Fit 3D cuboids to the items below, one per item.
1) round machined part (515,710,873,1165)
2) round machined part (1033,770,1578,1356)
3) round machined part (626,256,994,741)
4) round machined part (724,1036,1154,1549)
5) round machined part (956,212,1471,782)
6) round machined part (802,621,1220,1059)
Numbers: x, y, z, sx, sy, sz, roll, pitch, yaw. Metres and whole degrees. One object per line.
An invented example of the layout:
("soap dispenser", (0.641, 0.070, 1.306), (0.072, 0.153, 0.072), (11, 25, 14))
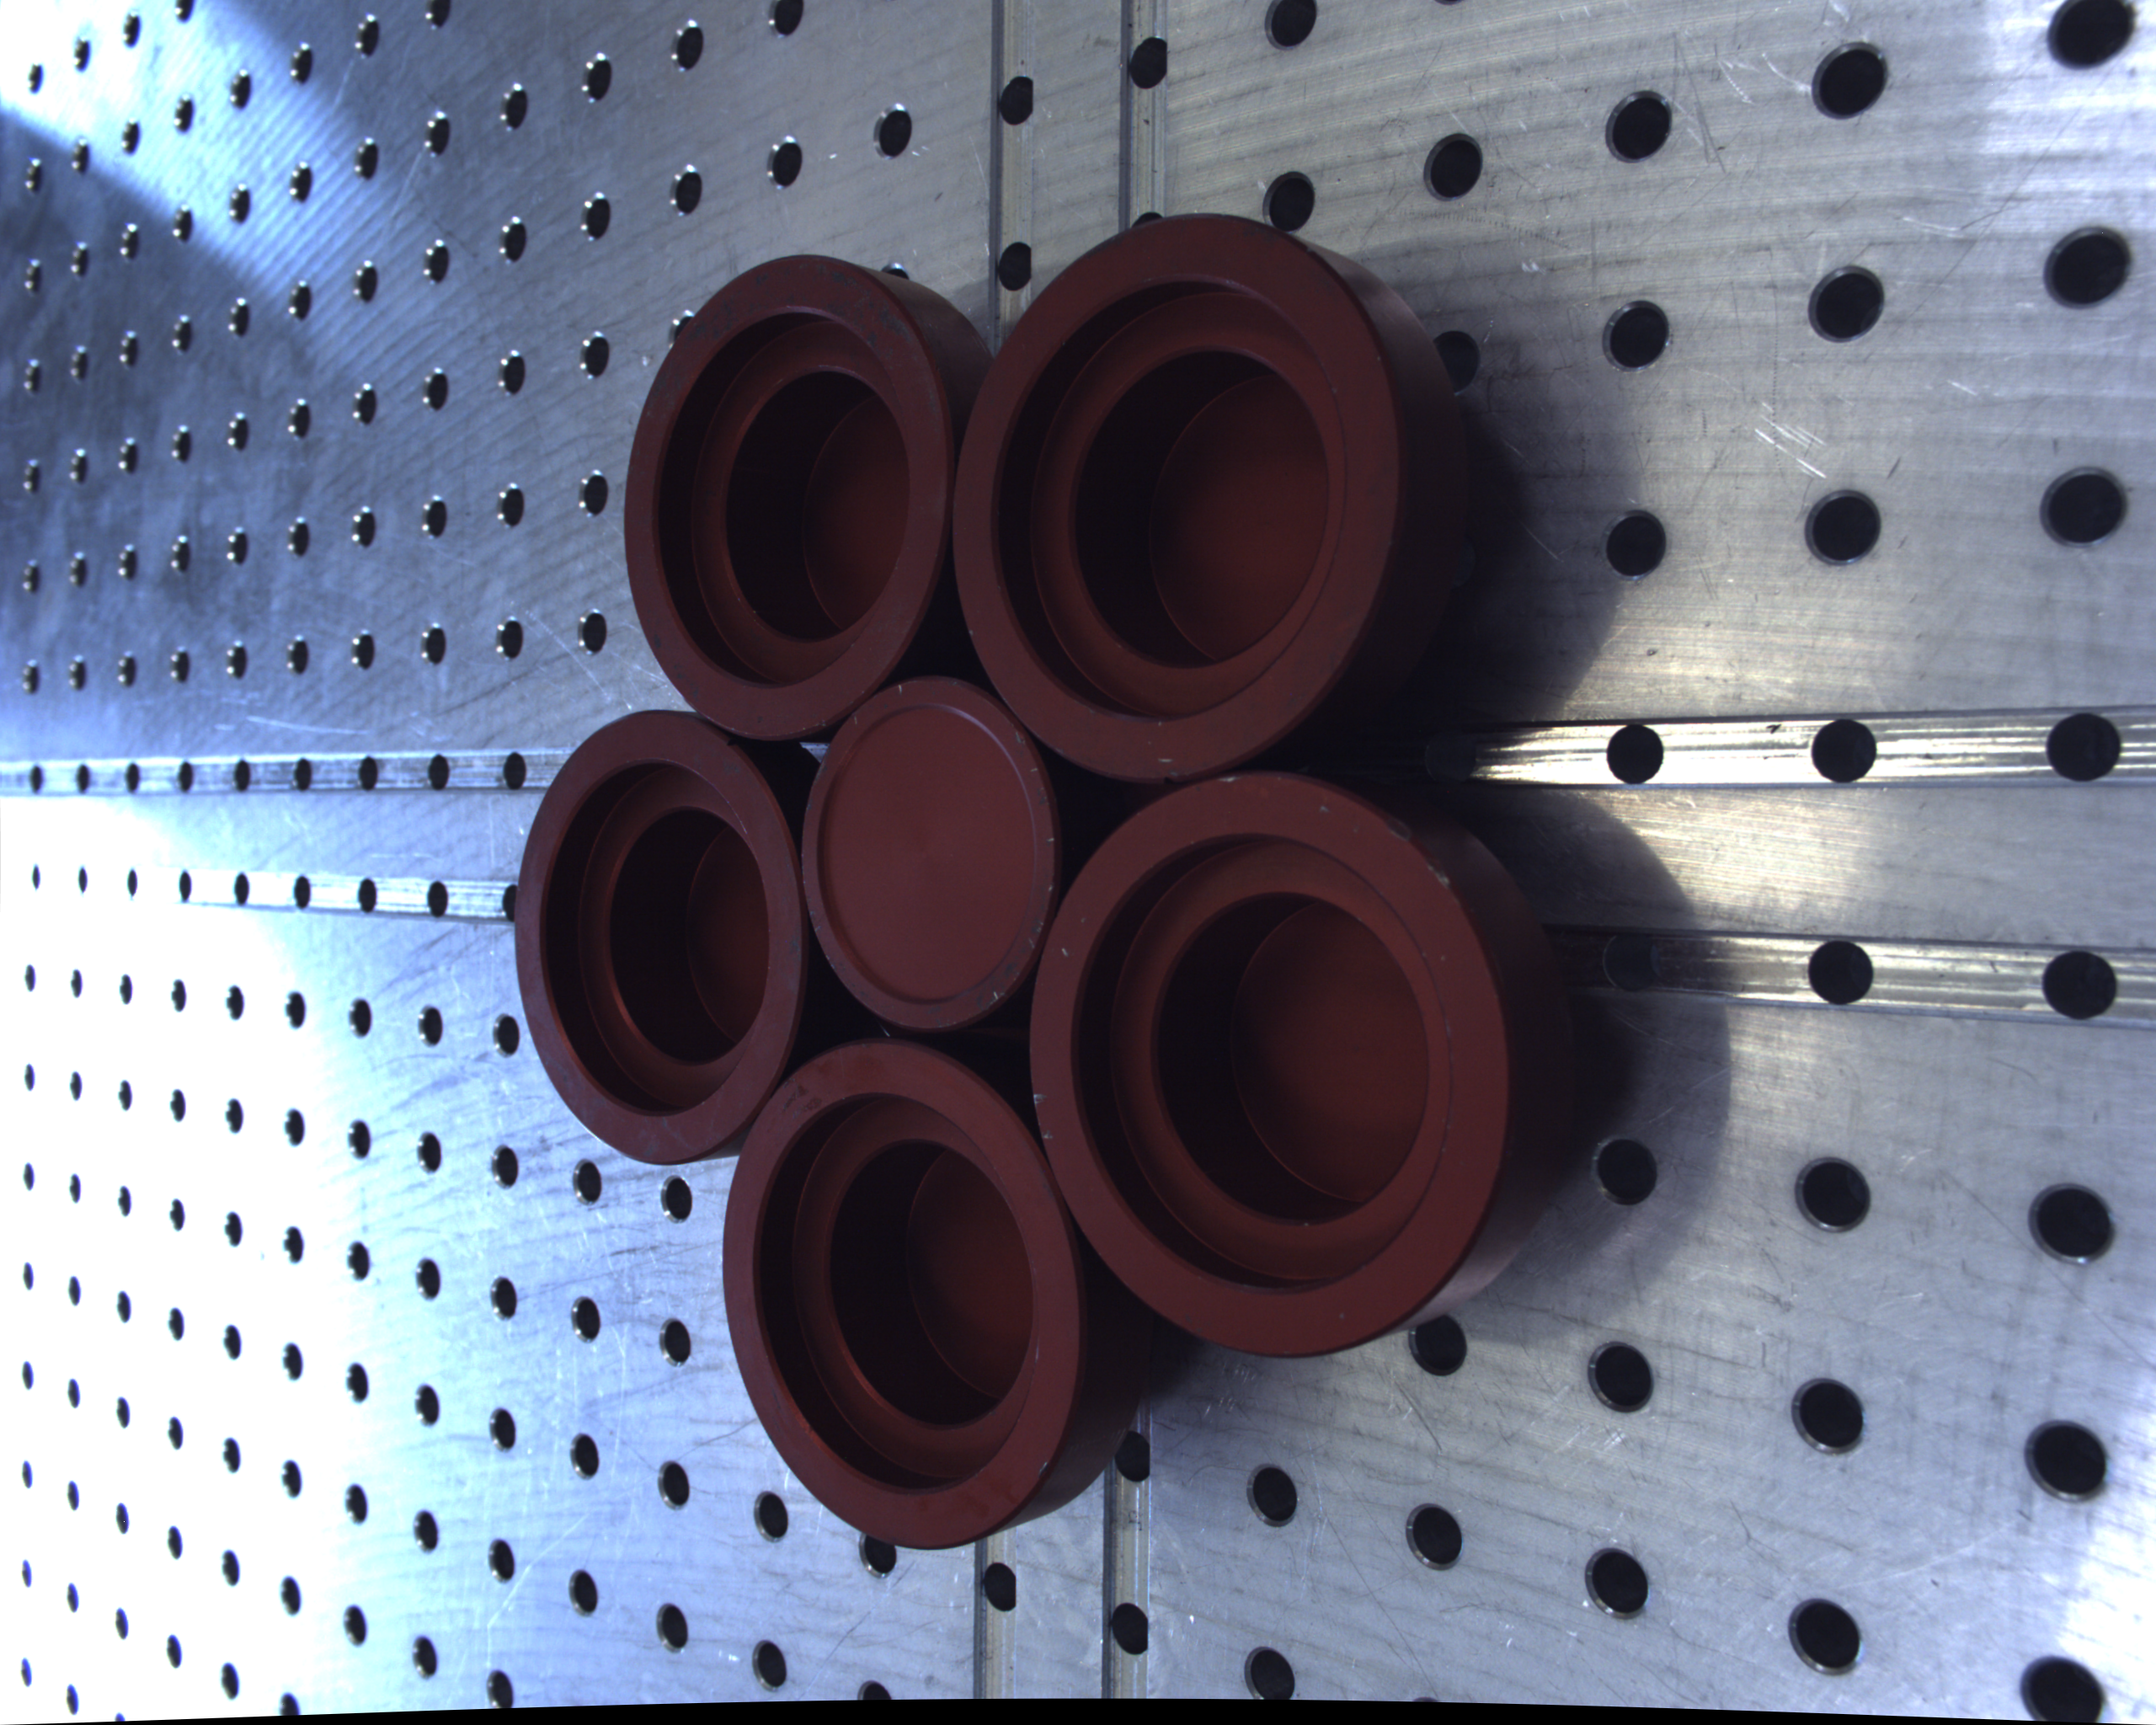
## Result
("round machined part", (-0.079, 0.016, 0.464), (0.098, 0.042, 0.097), (0, 90, 40))
("round machined part", (0.042, 0.033, 0.364), (0.098, 0.042, 0.097), (0, 90, 40))
("round machined part", (-0.048, -0.074, 0.439), (0.098, 0.042, 0.097), (0, 90, 40))
("round machined part", (-0.023, 0.082, 0.418), (0.098, 0.042, 0.097), (0, 90, 40))
("round machined part", (0.028, -0.063, 0.376), (0.098, 0.042, 0.097), (0, 90, 40))
("round machined part", (-0.016, -0.002, 0.412), (0.098, 0.042, 0.097), (0, 90, 40))
